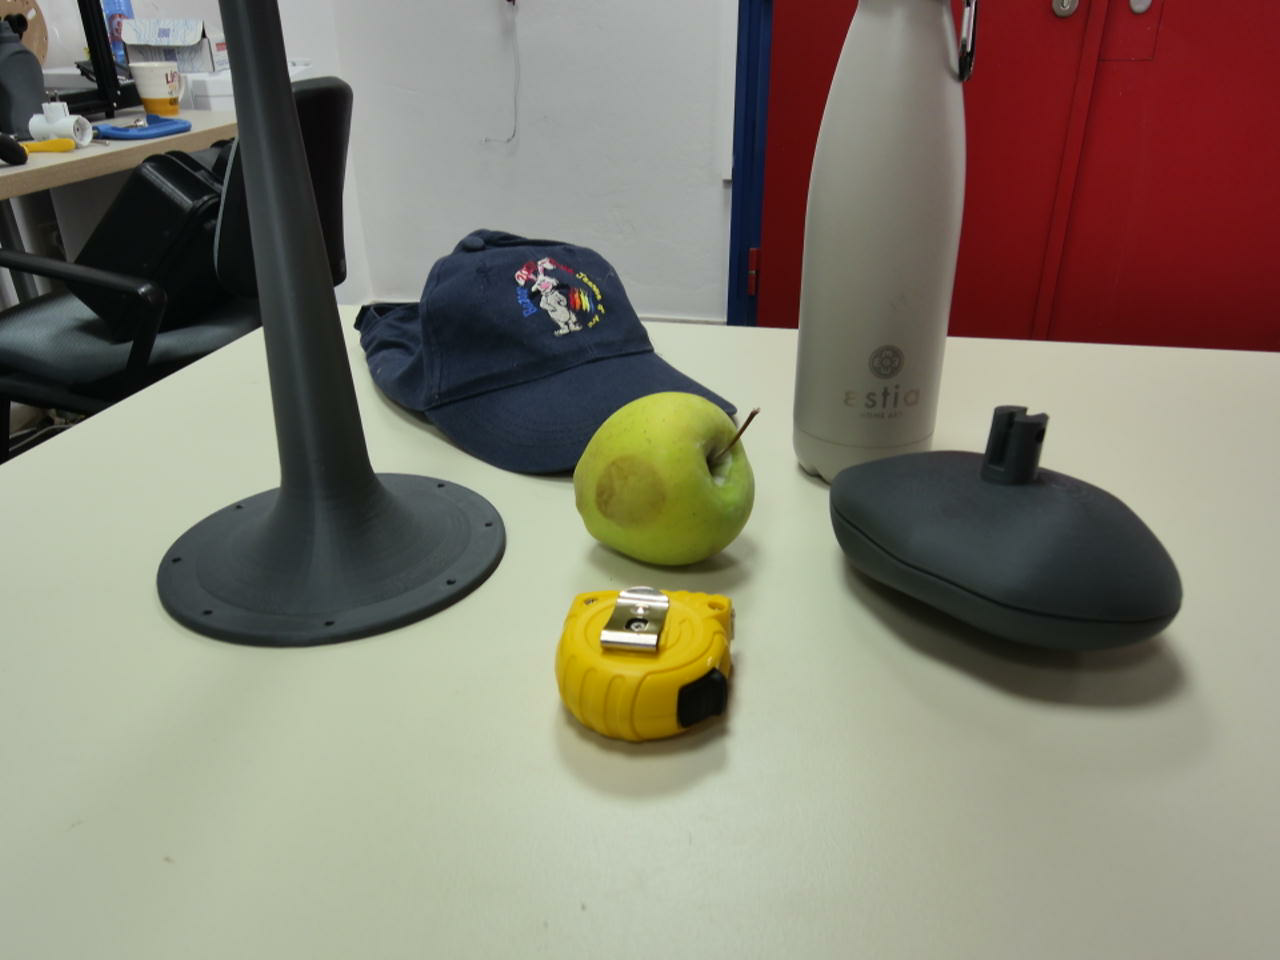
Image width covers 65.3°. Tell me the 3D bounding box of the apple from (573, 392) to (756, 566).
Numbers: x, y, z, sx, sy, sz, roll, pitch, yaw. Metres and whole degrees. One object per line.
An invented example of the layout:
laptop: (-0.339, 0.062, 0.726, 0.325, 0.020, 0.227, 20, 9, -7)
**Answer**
apple: (0.011, -0.002, 0.435, 0.072, 0.075, 0.077, -15, 28, -30)
